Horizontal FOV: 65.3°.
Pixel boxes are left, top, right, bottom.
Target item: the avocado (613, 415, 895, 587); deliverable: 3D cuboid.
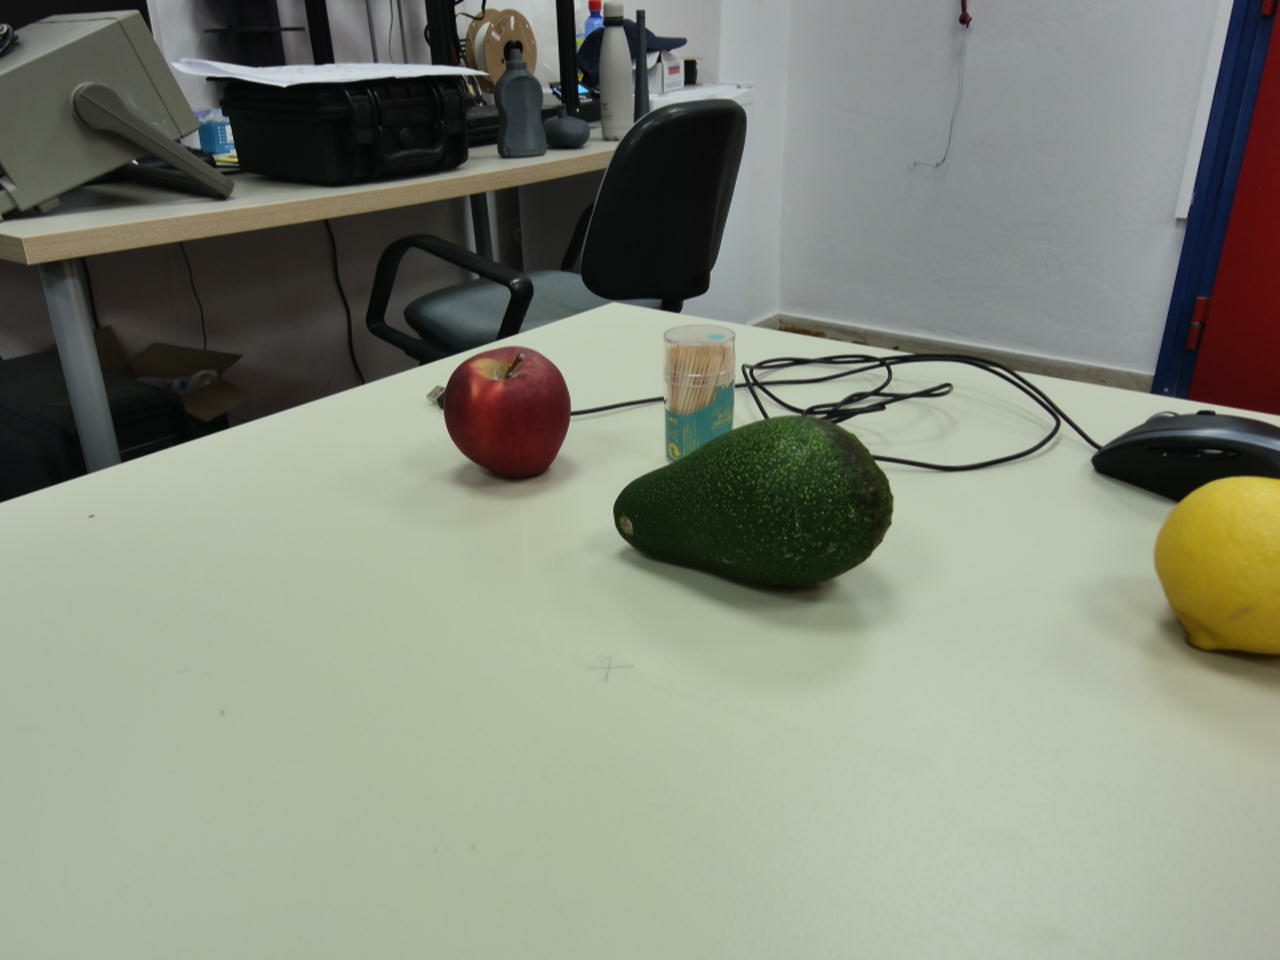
[{"bbox_3d":[0.053,0.006,0.438,0.074,0.076,0.123,-21,30,-41],"label":"avocado"}]
